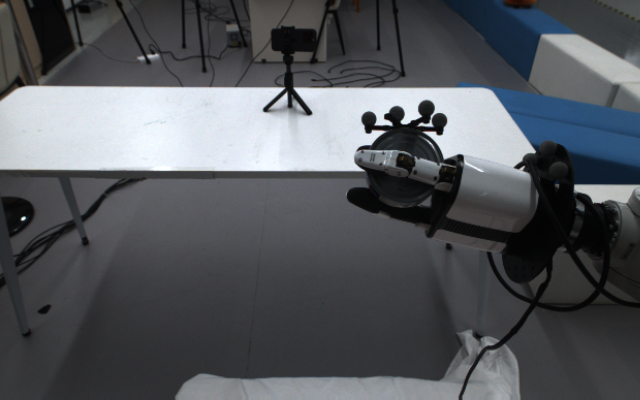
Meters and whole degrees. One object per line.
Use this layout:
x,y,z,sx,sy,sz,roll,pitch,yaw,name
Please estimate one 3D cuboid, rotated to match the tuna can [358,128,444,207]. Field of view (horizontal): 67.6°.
0.094,-0.037,0.542,0.085,0.034,0.085,-1,75,4,tuna can
